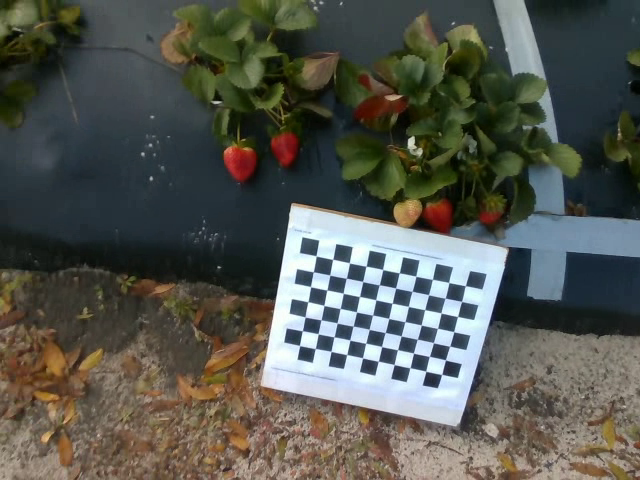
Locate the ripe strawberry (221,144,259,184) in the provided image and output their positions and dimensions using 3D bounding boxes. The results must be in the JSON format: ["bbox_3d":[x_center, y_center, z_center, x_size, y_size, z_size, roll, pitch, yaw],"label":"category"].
[{"bbox_3d":[-0.105,-0.108,0.867,0.050,0.061,0.045,2,-21,7],"label":"ripe strawberry"}]

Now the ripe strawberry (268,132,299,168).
[{"bbox_3d":[-0.043,-0.130,0.864,0.042,0.053,0.034,-4,-18,9],"label":"ripe strawberry"}]
